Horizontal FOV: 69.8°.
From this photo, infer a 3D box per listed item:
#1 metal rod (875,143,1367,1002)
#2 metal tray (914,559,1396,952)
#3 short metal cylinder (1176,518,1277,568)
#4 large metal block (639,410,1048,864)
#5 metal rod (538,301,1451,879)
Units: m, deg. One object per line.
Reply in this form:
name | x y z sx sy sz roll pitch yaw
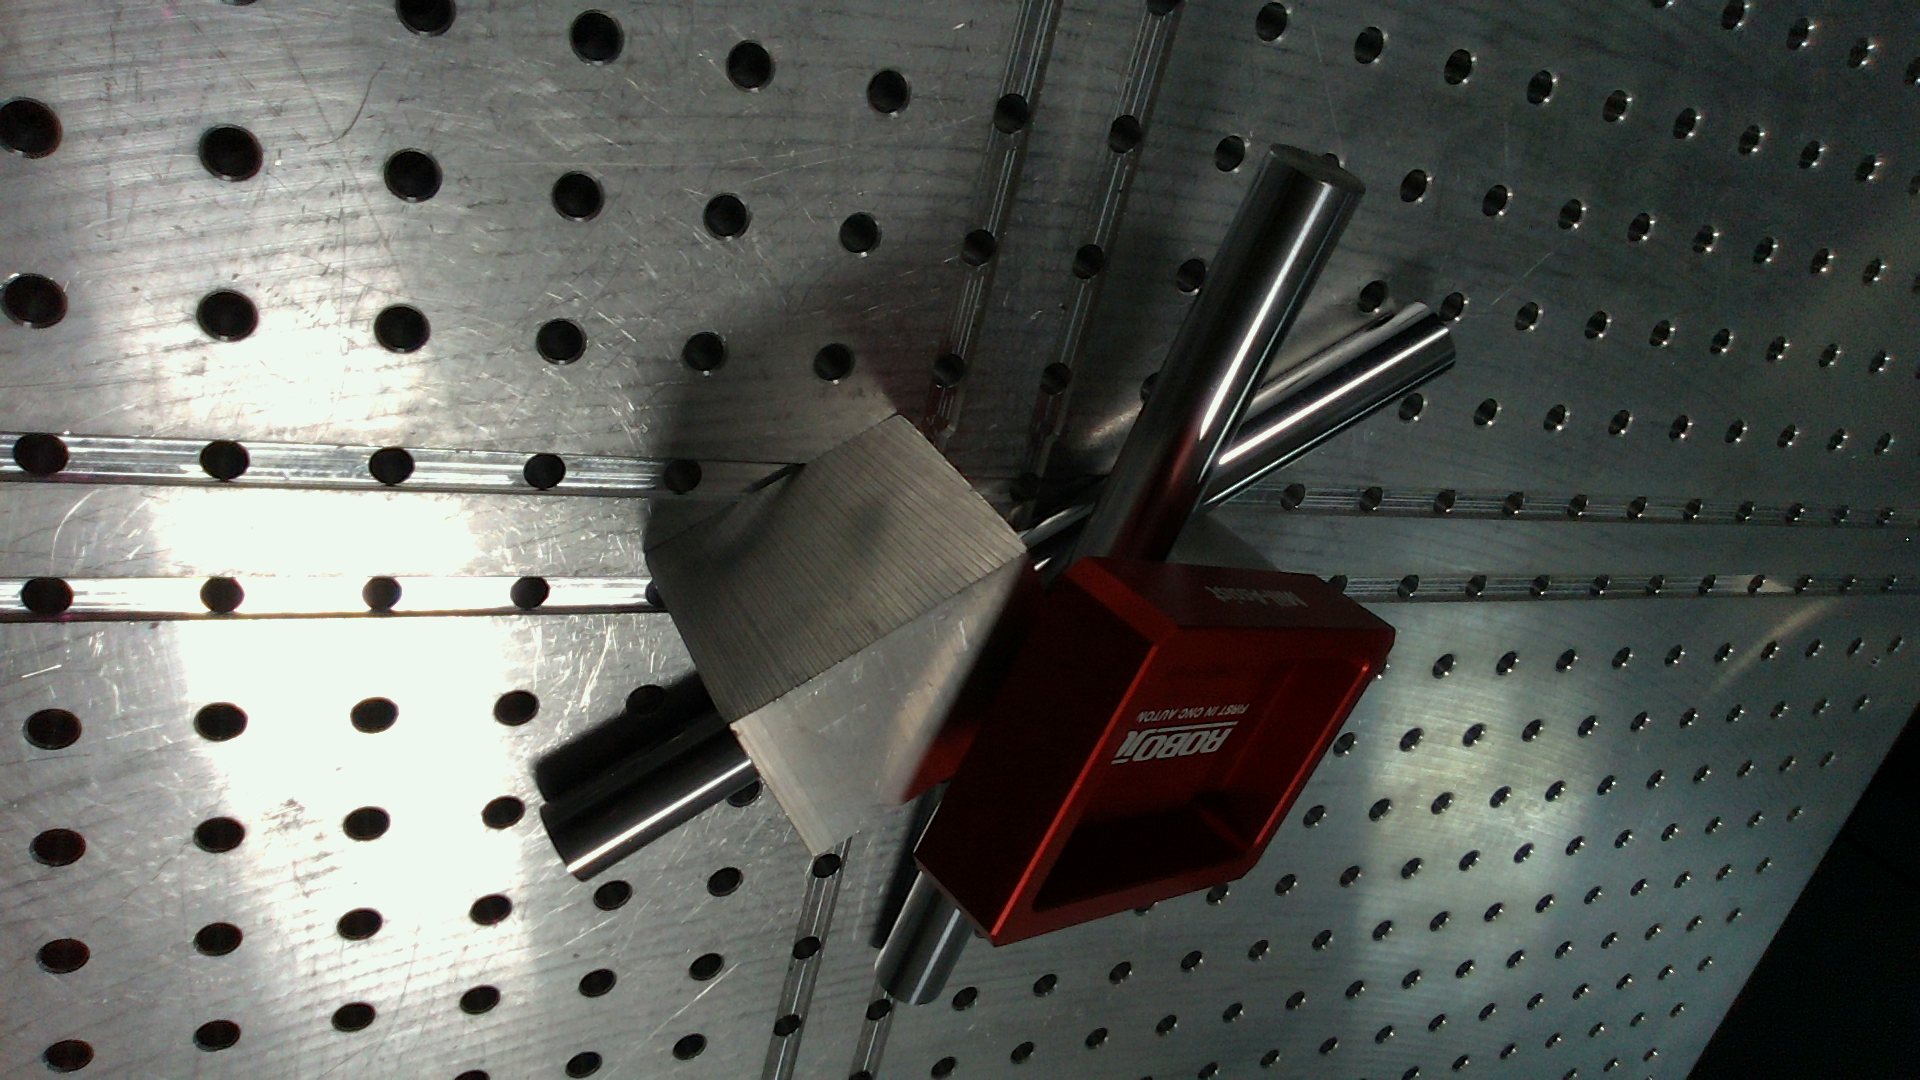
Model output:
metal rod | 0.033 0.031 0.400 0.025 0.025 0.300 4 126 -30
metal tray | 0.056 0.053 0.361 0.131 0.030 0.090 5 117 -51
short metal cylinder | 0.073 0.038 0.437 0.080 0.050 0.080 -14 124 -21
large metal block | -0.026 0.021 0.355 0.080 0.080 0.050 -30 128 -9
metal rod | 0.017 0.010 0.408 0.300 0.025 0.025 -30 128 -9
